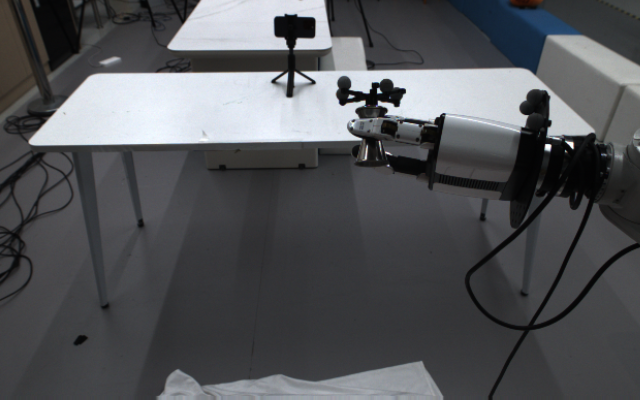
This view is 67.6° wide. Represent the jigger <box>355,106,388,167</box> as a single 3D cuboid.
[{"bbox_3d":[0.062,-0.078,0.597,0.043,0.071,0.043,1,-5,0],"label":"jigger"}]
